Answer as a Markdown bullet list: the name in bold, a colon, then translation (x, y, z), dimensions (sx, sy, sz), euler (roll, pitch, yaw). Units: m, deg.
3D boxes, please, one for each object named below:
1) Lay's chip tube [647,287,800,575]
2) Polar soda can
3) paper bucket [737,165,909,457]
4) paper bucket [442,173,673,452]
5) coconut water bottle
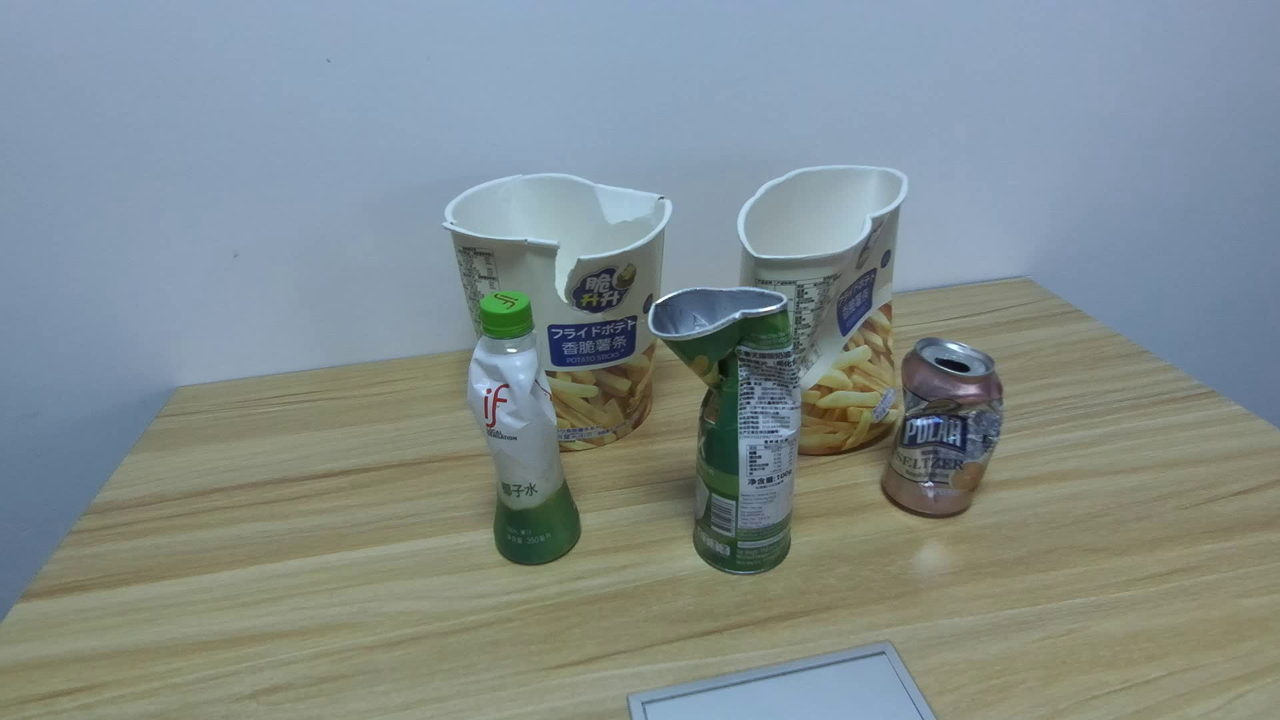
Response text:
- **Lay's chip tube**: translation (0.058, 0.047, 0.448), dimensions (0.071, 0.200, 0.078), euler (-21, 32, -14)
- **Polar soda can**: translation (0.219, 0.049, 0.512), dimensions (0.071, 0.122, 0.066), euler (6, 26, 12)
- **paper bucket**: translation (0.150, -0.042, 0.588), dimensions (0.147, 0.199, 0.217), euler (0, 30, 4)
- **paper bucket**: translation (-0.064, -0.041, 0.606), dimensions (0.202, 0.197, 0.146), euler (16, 36, 30)
- **coconut water bottle**: translation (-0.077, 0.047, 0.471), dimensions (0.067, 0.187, 0.067), euler (-2, 28, 1)
